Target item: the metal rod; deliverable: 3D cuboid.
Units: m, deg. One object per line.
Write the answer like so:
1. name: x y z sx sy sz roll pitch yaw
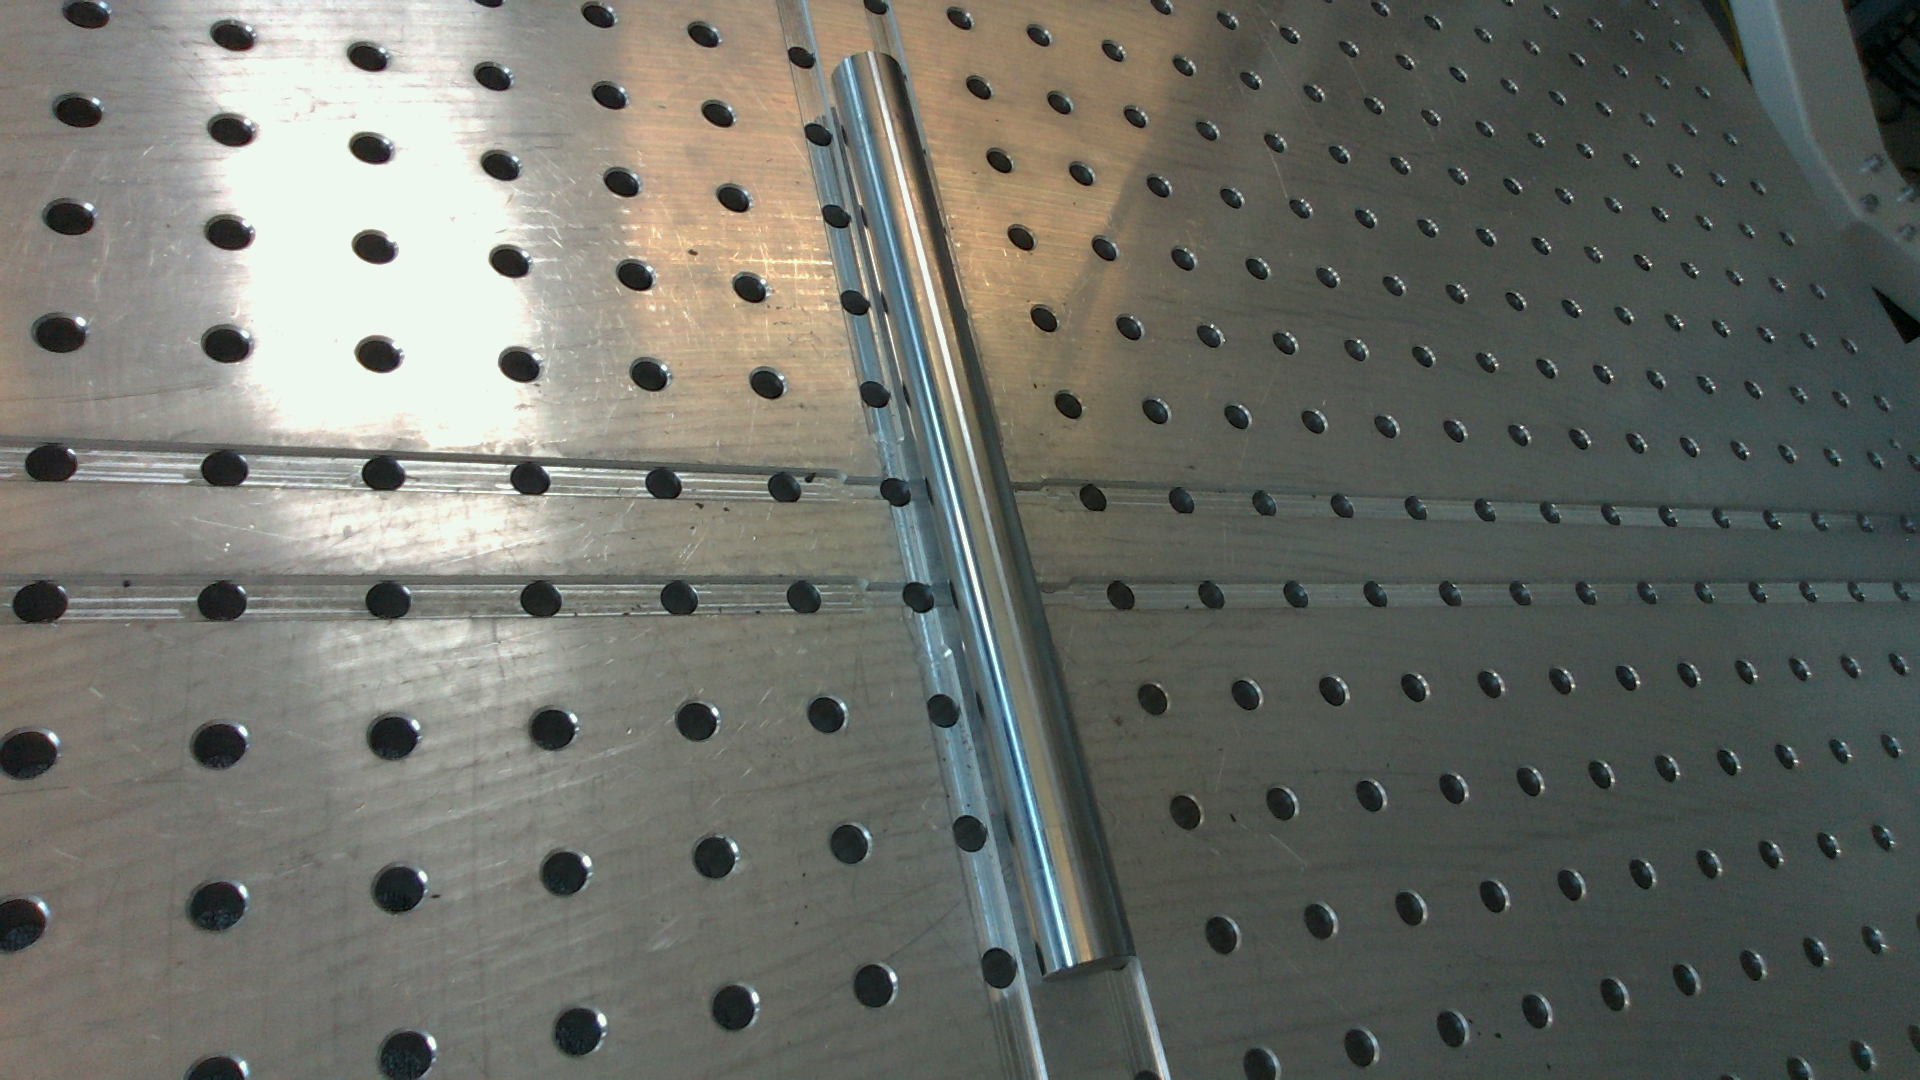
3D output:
1. metal rod: -0.001 -0.024 0.407 0.025 0.025 0.300 1 61 -28
